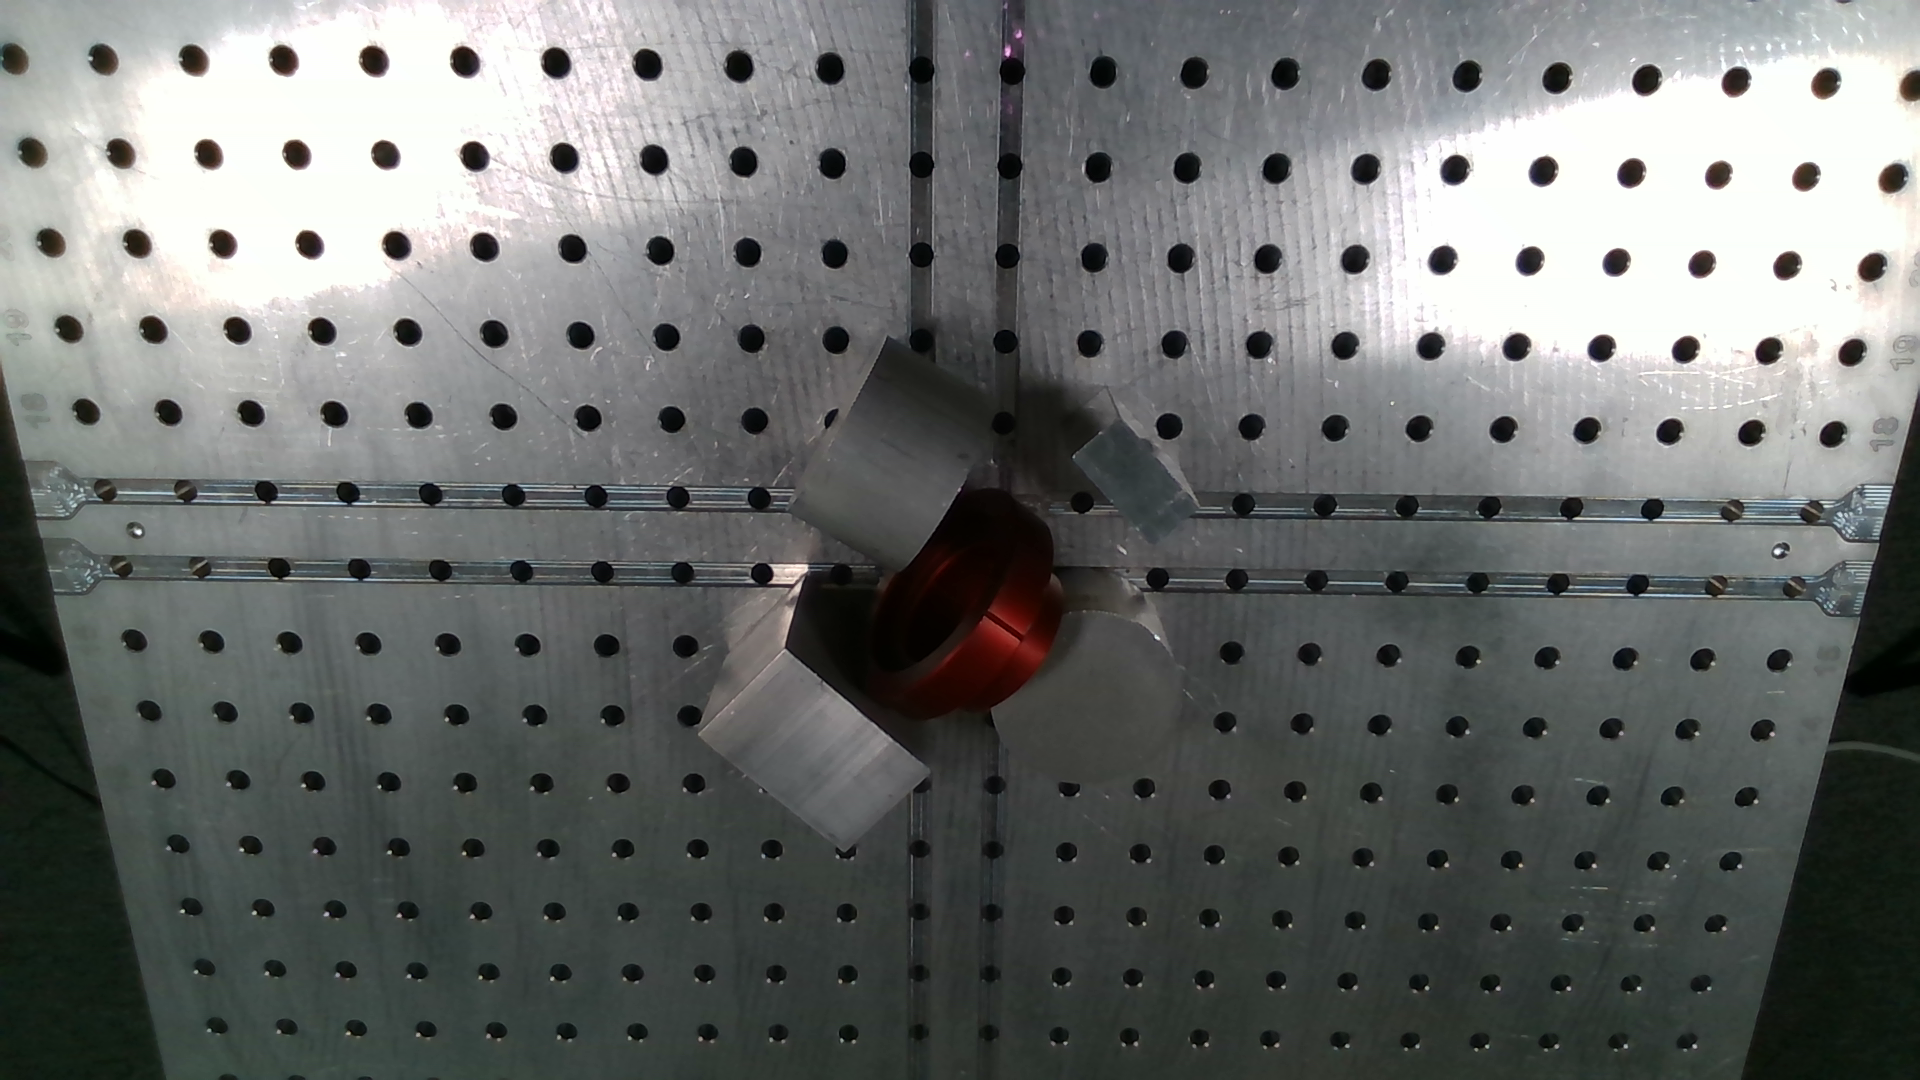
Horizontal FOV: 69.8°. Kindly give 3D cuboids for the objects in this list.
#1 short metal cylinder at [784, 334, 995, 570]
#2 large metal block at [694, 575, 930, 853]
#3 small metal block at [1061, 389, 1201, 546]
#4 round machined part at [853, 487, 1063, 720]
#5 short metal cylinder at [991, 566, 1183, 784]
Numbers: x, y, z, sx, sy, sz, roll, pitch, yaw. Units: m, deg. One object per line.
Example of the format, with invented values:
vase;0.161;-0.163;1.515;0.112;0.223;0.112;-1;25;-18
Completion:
short metal cylinder;-0.028;-0.034;0.545;0.050;0.080;0.080;29;108;-10
large metal block;-0.059;0.072;0.585;0.080;0.080;0.050;41;105;-14
small metal block;0.069;-0.031;0.562;0.025;0.050;0.050;-40;105;13
round machined part;0.004;0.030;0.560;0.042;0.098;0.098;36;107;-25
short metal cylinder;0.053;0.057;0.595;0.080;0.050;0.080;0;110;0
